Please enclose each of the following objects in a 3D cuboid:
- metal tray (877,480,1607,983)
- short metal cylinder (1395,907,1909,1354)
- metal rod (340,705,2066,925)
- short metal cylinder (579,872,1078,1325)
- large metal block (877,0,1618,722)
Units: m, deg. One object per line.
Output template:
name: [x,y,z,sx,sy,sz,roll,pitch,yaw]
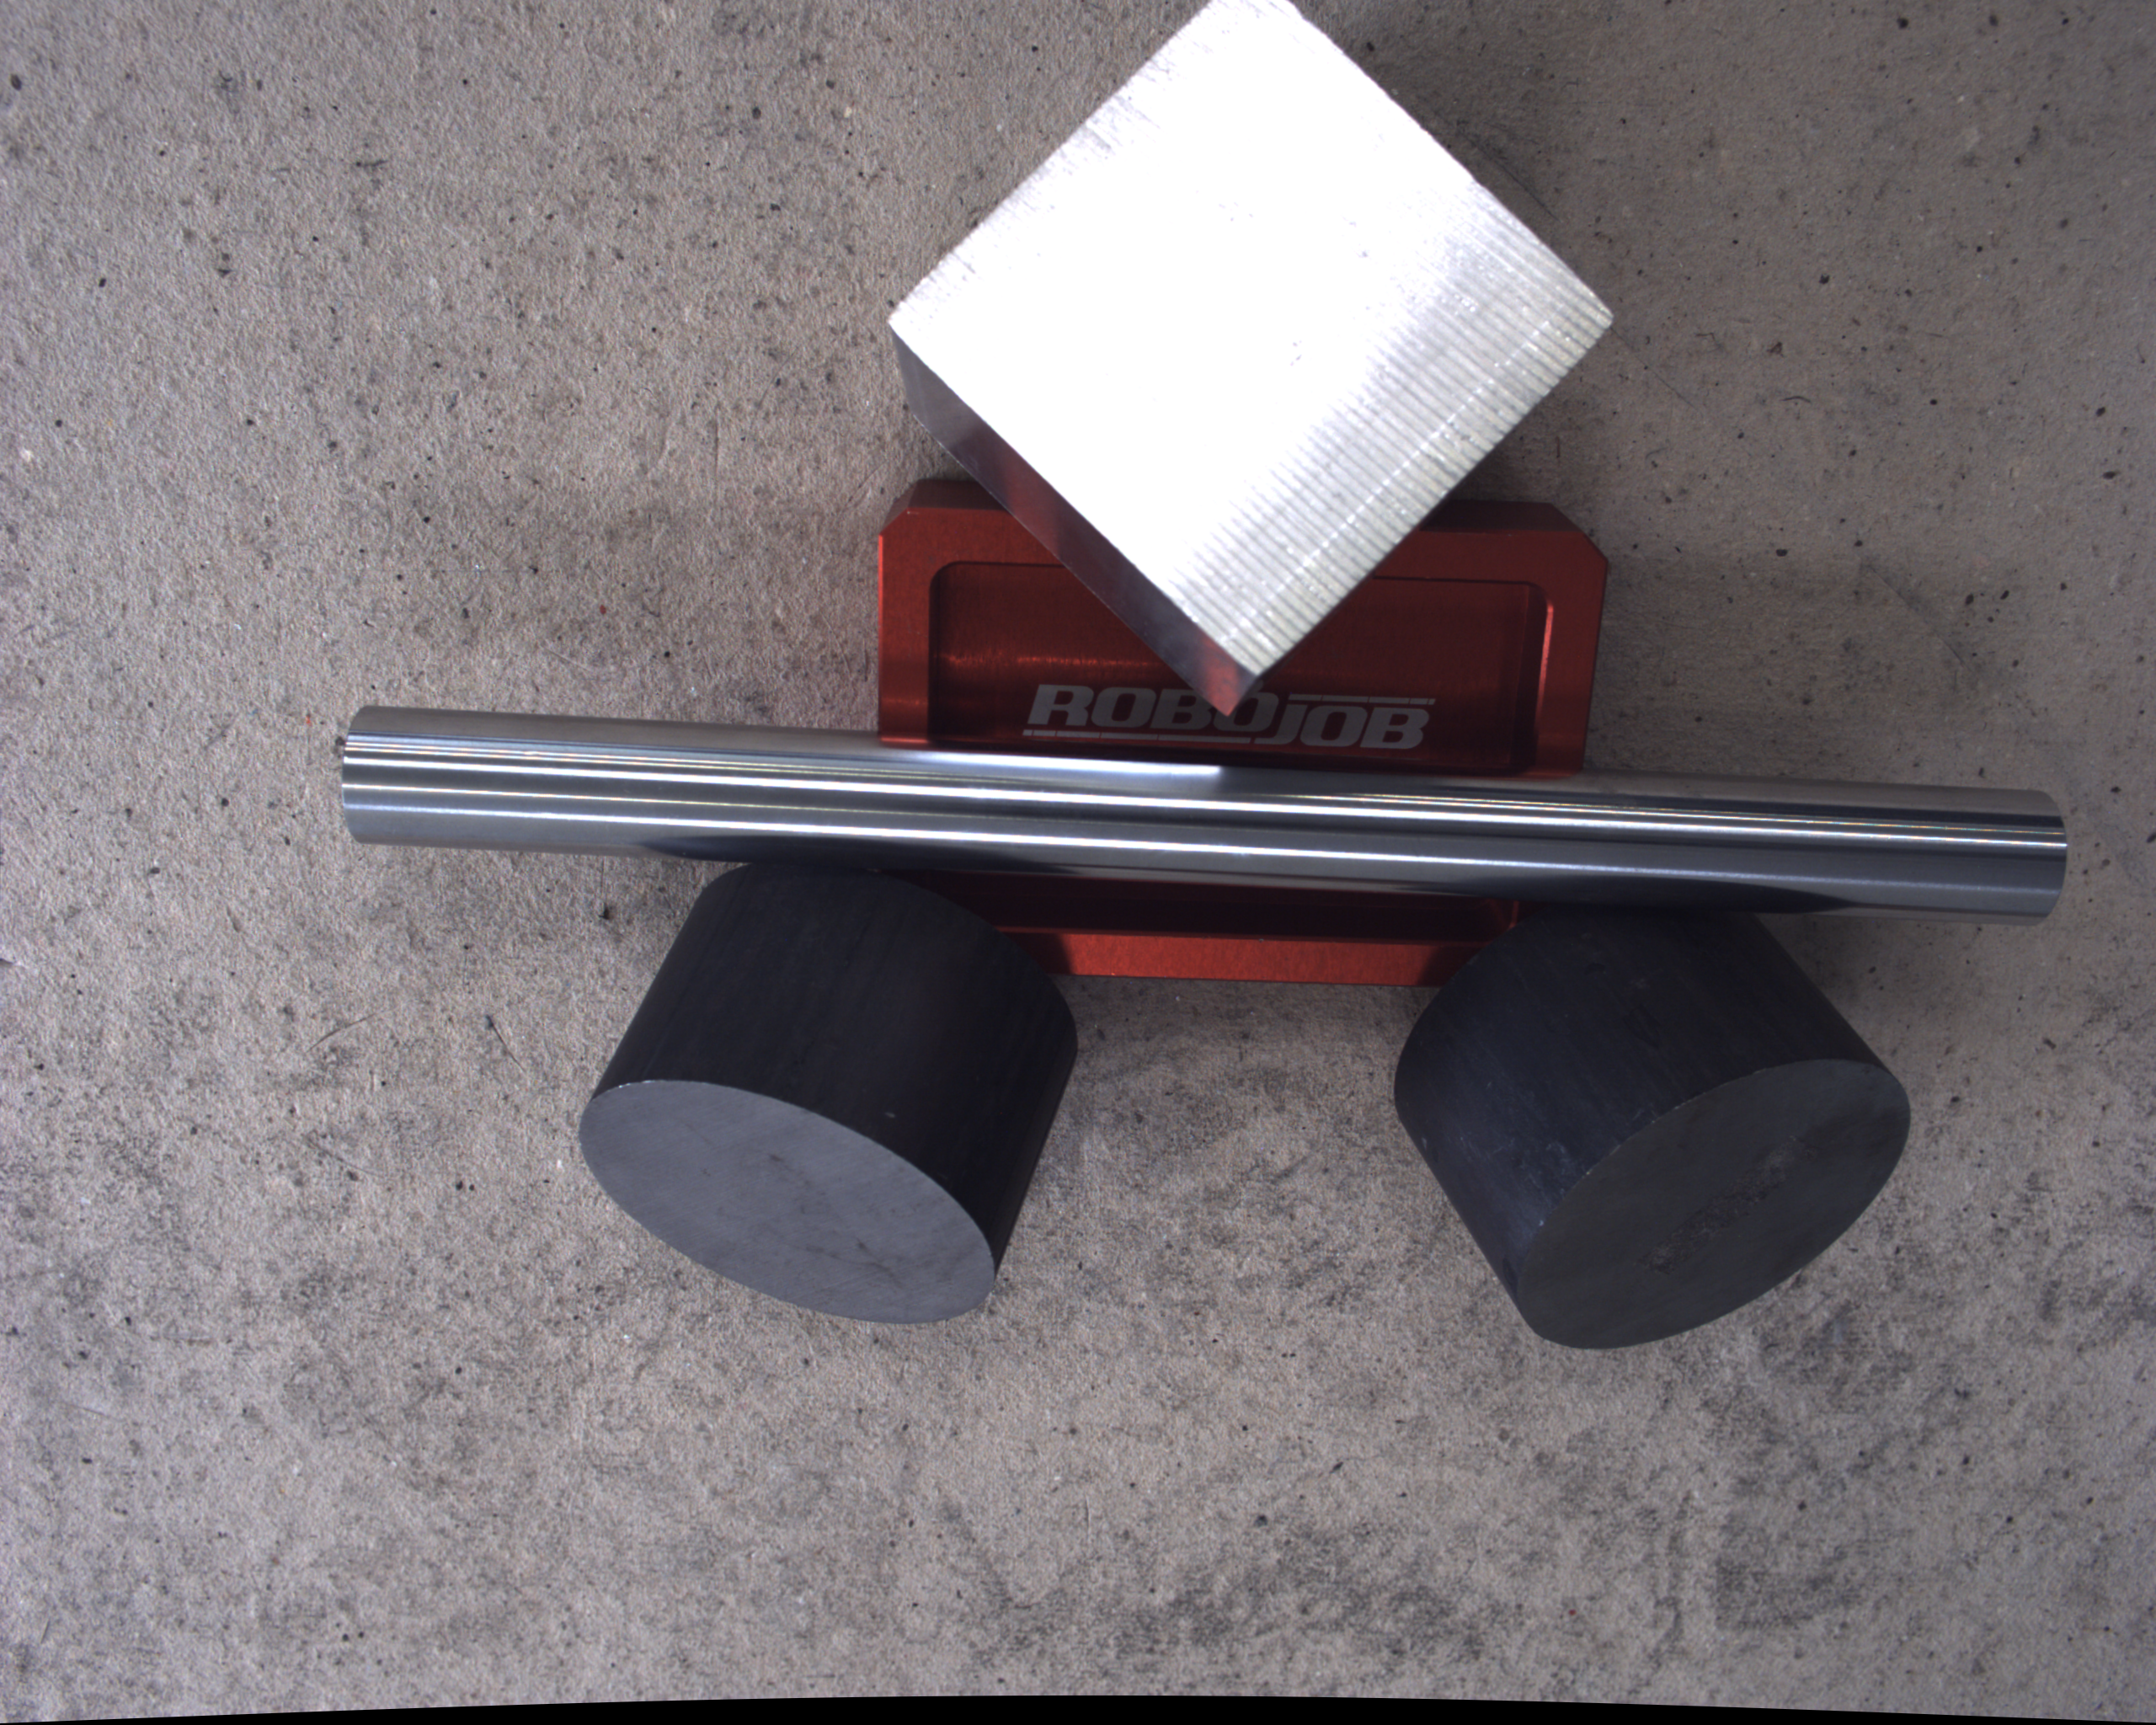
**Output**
metal tray: [0.028,-0.025,0.400,0.131,0.030,0.089,2,110,-1]
short metal cylinder: [0.108,0.049,0.399,0.081,0.050,0.079,-14,135,-14]
metal rod: [0.023,-0.008,0.376,0.302,0.025,0.025,3,110,-2]
short metal cylinder: [-0.046,0.045,0.394,0.080,0.050,0.080,13,143,11]
large metal block: [0.026,-0.082,0.345,0.080,0.050,0.080,45,87,2]
